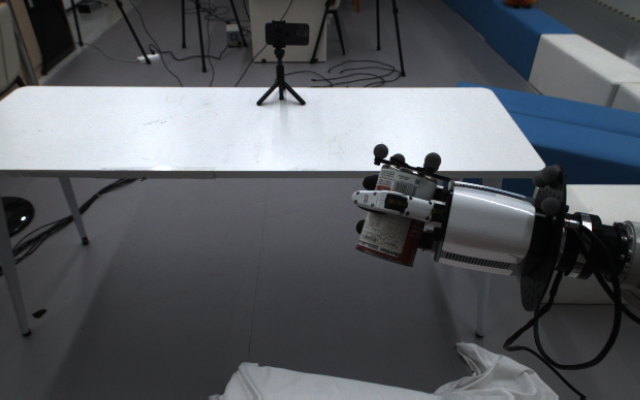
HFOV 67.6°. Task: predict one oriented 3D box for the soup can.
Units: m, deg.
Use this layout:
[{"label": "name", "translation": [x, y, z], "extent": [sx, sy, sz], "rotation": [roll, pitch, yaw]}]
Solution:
[{"label": "soup can", "translation": [0.090, 0.017, 0.554], "extent": [0.067, 0.101, 0.067], "rotation": [17, -1, 0]}]
